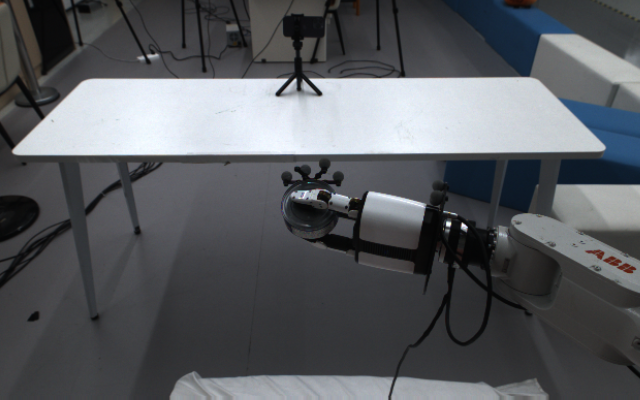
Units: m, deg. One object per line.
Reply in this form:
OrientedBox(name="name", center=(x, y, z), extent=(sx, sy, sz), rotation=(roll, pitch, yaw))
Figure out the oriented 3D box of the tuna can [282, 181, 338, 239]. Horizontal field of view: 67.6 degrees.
OrientedBox(name="tuna can", center=(-0.013, 0.018, 0.712), extent=(0.085, 0.034, 0.085), rotation=(-1, 58, 2))
